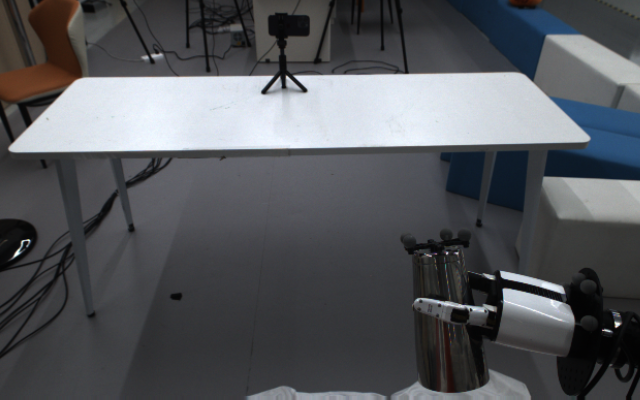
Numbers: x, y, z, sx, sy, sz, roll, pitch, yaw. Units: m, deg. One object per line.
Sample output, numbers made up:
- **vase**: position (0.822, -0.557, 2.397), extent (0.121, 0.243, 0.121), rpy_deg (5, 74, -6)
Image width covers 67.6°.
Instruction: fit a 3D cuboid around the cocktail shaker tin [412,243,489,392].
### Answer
- **cocktail shaker tin**: position (0.165, 0.150, 0.638), extent (0.093, 0.170, 0.093), rpy_deg (-8, 1, 0)
